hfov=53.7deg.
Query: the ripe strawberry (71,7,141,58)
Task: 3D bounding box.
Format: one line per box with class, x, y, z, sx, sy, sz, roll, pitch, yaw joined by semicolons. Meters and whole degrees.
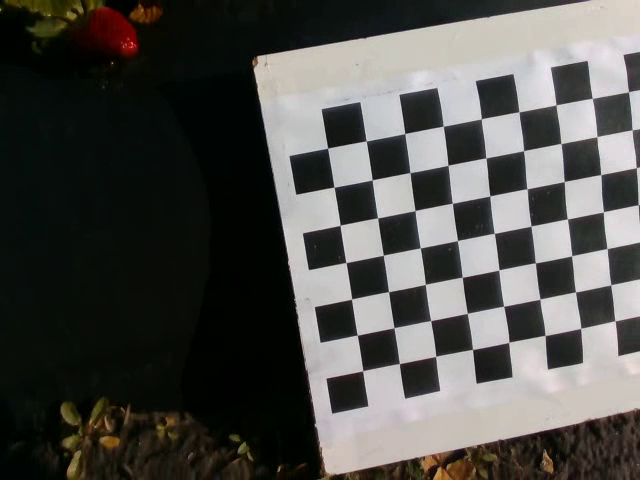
ripe strawberry;-0.126;-0.122;0.368;0.056;0.041;0.040;34;7;36
